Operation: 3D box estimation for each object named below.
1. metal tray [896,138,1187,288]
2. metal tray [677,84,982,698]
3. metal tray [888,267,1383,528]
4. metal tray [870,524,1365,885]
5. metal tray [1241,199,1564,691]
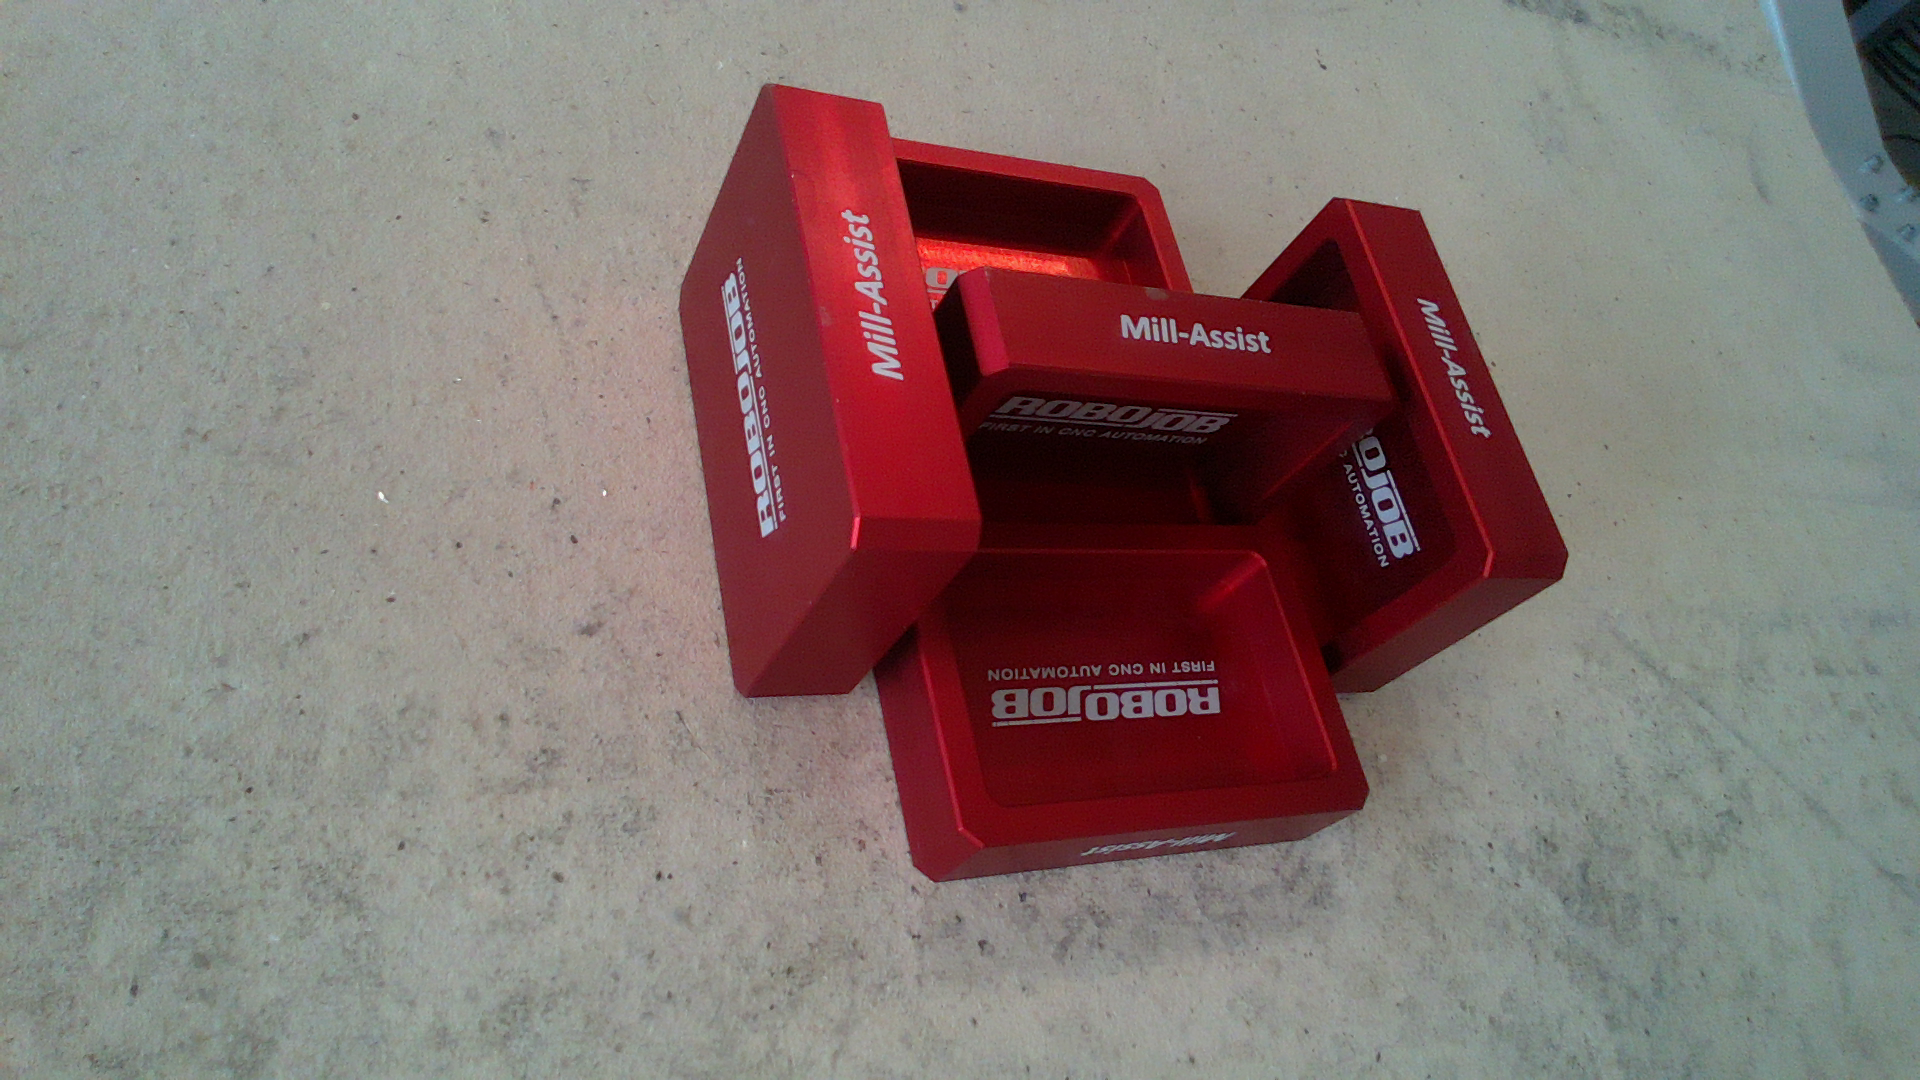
[{"bbox_3d":[0.013,-0.080,0.443,0.130,0.030,0.090,0,64,-28],"label":"metal tray"},{"bbox_3d":[-0.039,-0.036,0.350,0.030,0.090,0.130,1,61,-28],"label":"metal tray"},{"bbox_3d":[0.041,-0.032,0.392,0.130,0.090,0.030,1,62,-28],"label":"metal tray"},{"bbox_3d":[0.042,0.042,0.386,0.130,0.030,0.090,1,60,-28],"label":"metal tray"},{"bbox_3d":[0.123,-0.028,0.431,0.030,0.090,0.130,1,61,-27],"label":"metal tray"}]
